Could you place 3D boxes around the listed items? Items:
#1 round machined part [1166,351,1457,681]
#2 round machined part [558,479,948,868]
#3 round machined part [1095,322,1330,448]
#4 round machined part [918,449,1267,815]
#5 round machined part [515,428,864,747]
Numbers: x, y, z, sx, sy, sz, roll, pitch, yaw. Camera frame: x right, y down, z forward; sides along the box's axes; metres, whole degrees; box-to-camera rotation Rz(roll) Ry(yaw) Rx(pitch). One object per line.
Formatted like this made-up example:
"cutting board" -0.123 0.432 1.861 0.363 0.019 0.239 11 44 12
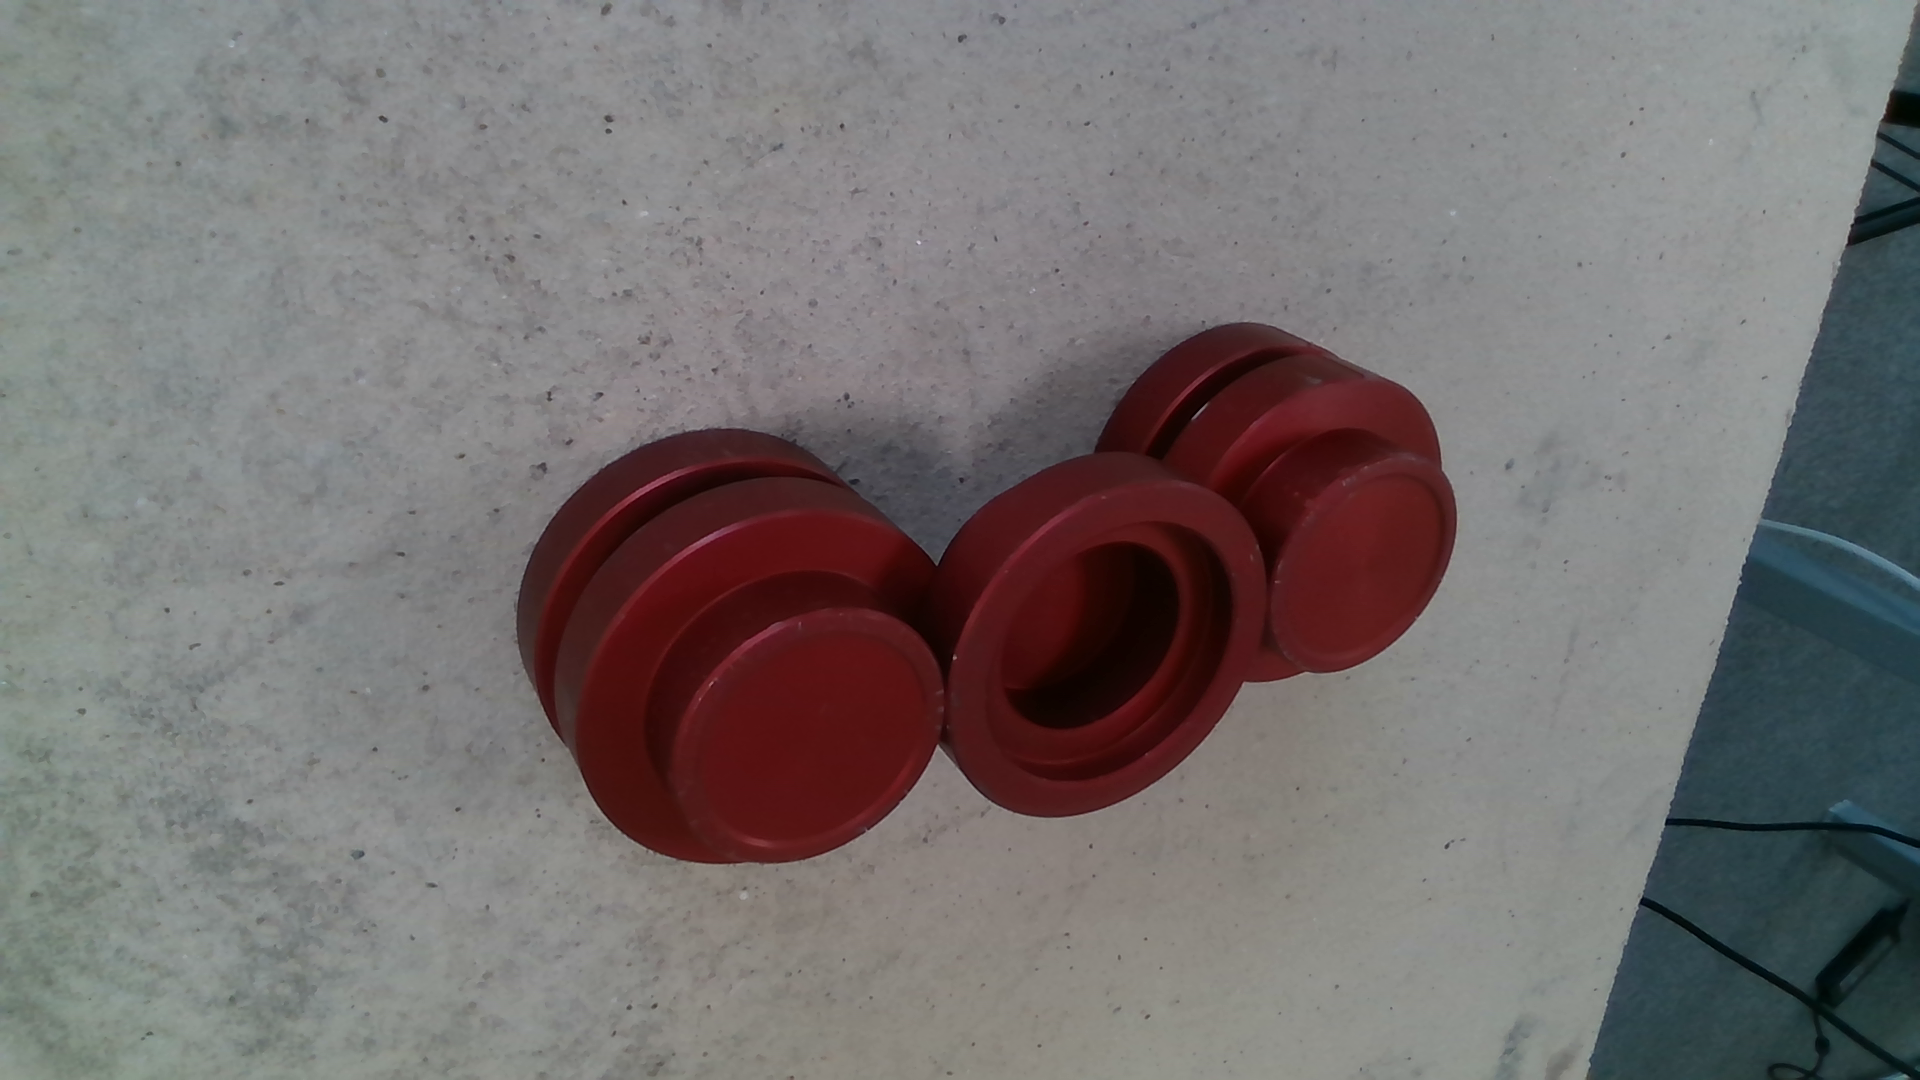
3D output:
"round machined part" 0.104 -0.002 0.400 0.098 0.042 0.098 -14 120 -25
"round machined part" -0.042 0.038 0.331 0.098 0.042 0.098 -14 120 -25
"round machined part" 0.090 -0.015 0.426 0.098 0.042 0.098 -13 119 -25
"round machined part" 0.030 0.021 0.368 0.098 0.042 0.098 -14 122 -25
"round machined part" -0.061 0.024 0.356 0.098 0.042 0.098 -15 121 -26
